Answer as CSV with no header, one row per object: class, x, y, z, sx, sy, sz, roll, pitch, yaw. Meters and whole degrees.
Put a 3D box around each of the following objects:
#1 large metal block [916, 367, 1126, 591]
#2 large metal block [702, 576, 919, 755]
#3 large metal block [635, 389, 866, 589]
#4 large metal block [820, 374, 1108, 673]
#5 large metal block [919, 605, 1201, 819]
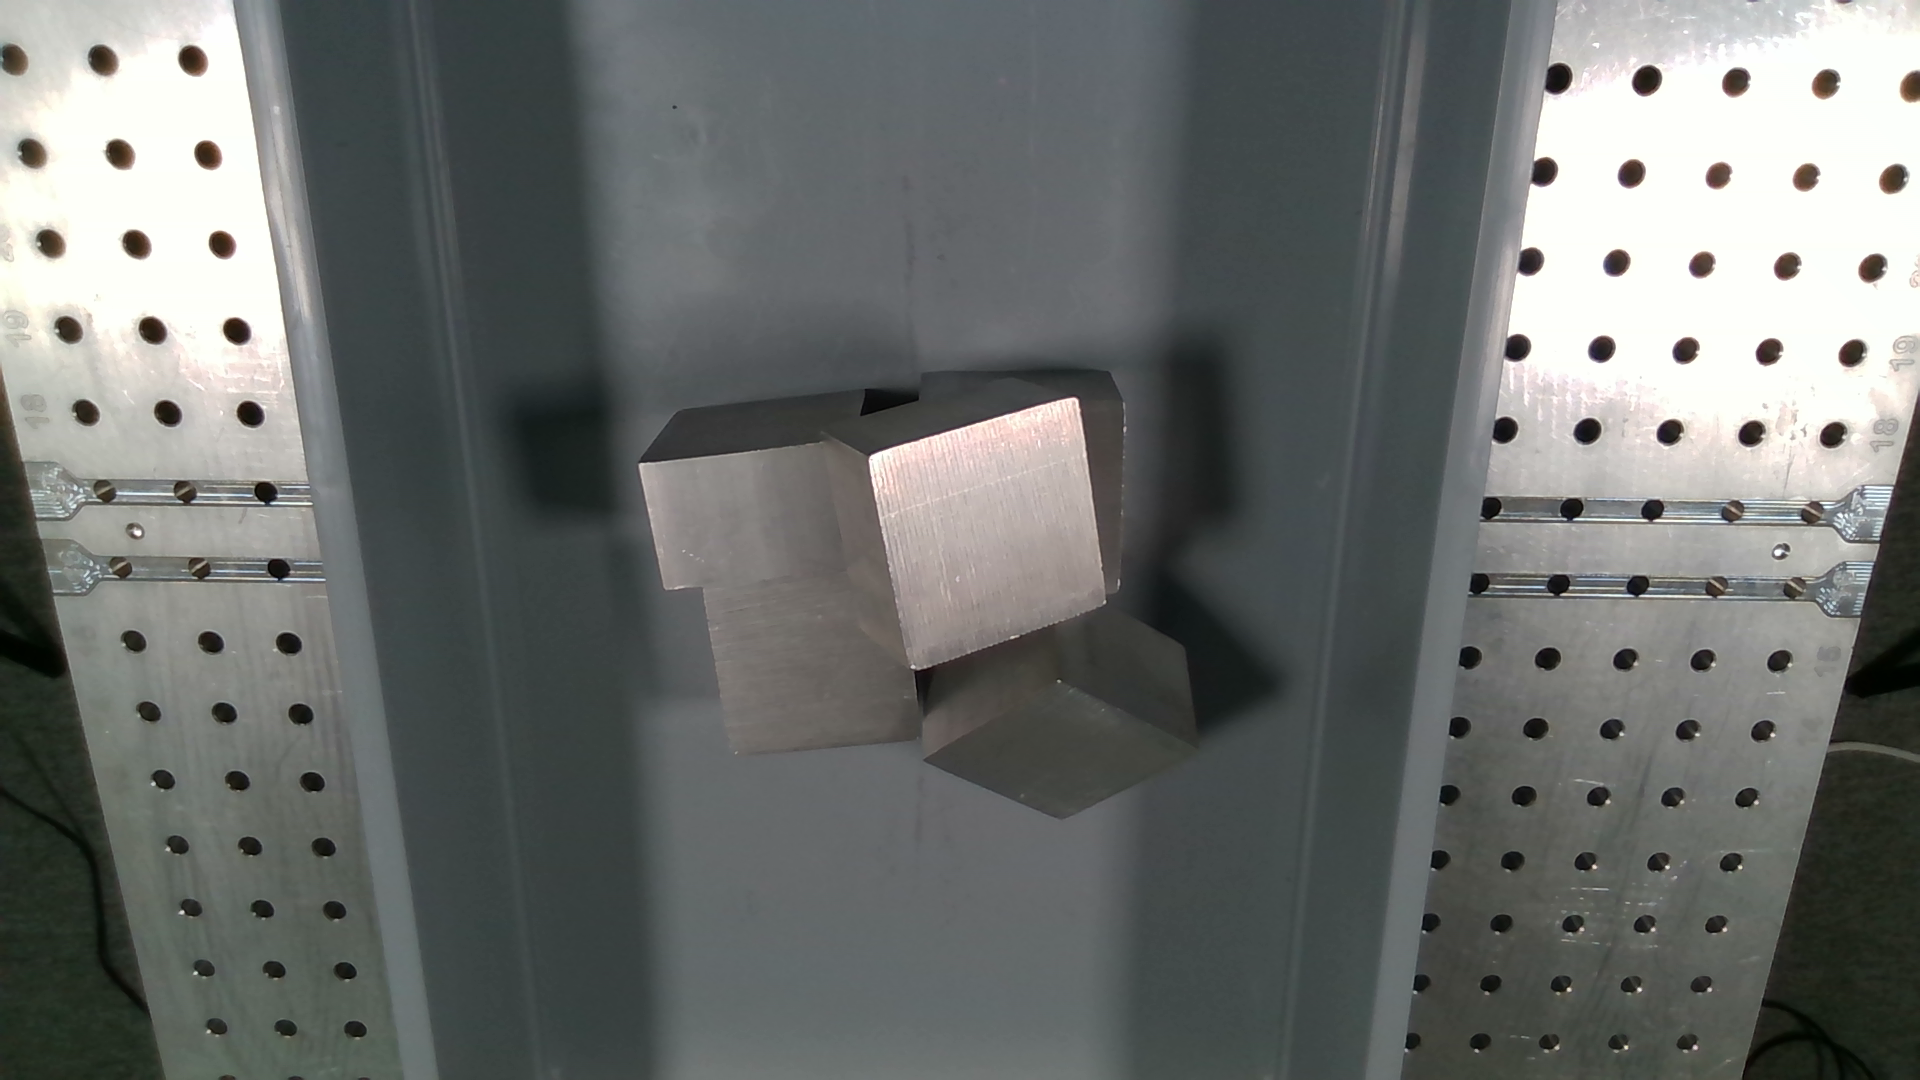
large metal block,0.024,-0.025,0.561,0.080,0.050,0.080,-1,110,0
large metal block,-0.060,0.040,0.583,0.080,0.050,0.080,-5,110,2
large metal block,-0.076,-0.023,0.546,0.080,0.080,0.050,-6,110,2
large metal block,0.001,-0.008,0.498,0.080,0.050,0.080,-18,111,-20
large metal block,0.040,0.066,0.568,0.080,0.050,0.080,28,133,-31
